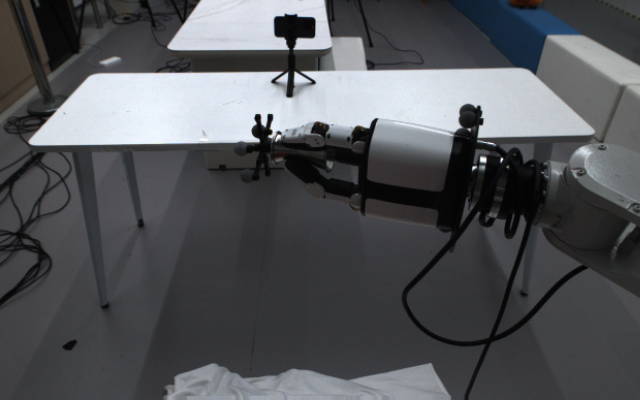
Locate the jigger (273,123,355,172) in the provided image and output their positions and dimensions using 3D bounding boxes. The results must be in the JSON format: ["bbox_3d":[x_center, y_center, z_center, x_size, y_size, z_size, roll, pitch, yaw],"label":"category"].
[{"bbox_3d":[-0.013,-0.062,0.569,0.071,0.043,0.043,8,35,14],"label":"jigger"}]
